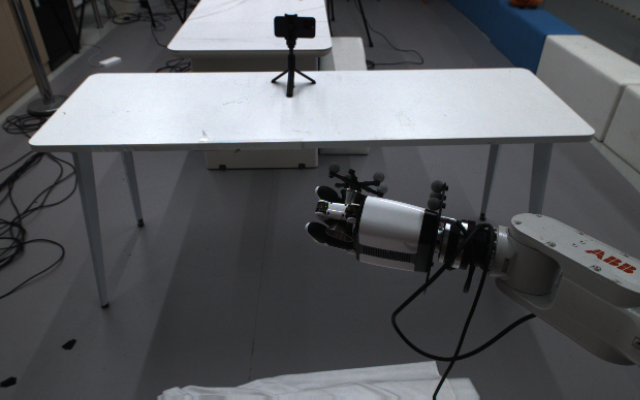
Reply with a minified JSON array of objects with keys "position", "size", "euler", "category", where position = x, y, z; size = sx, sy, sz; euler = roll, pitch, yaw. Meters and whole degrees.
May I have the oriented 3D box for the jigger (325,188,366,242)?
[{"position":[0.041,0.022,0.711],"size":[0.043,0.043,0.071],"euler":[13,70,16],"category":"jigger"}]
